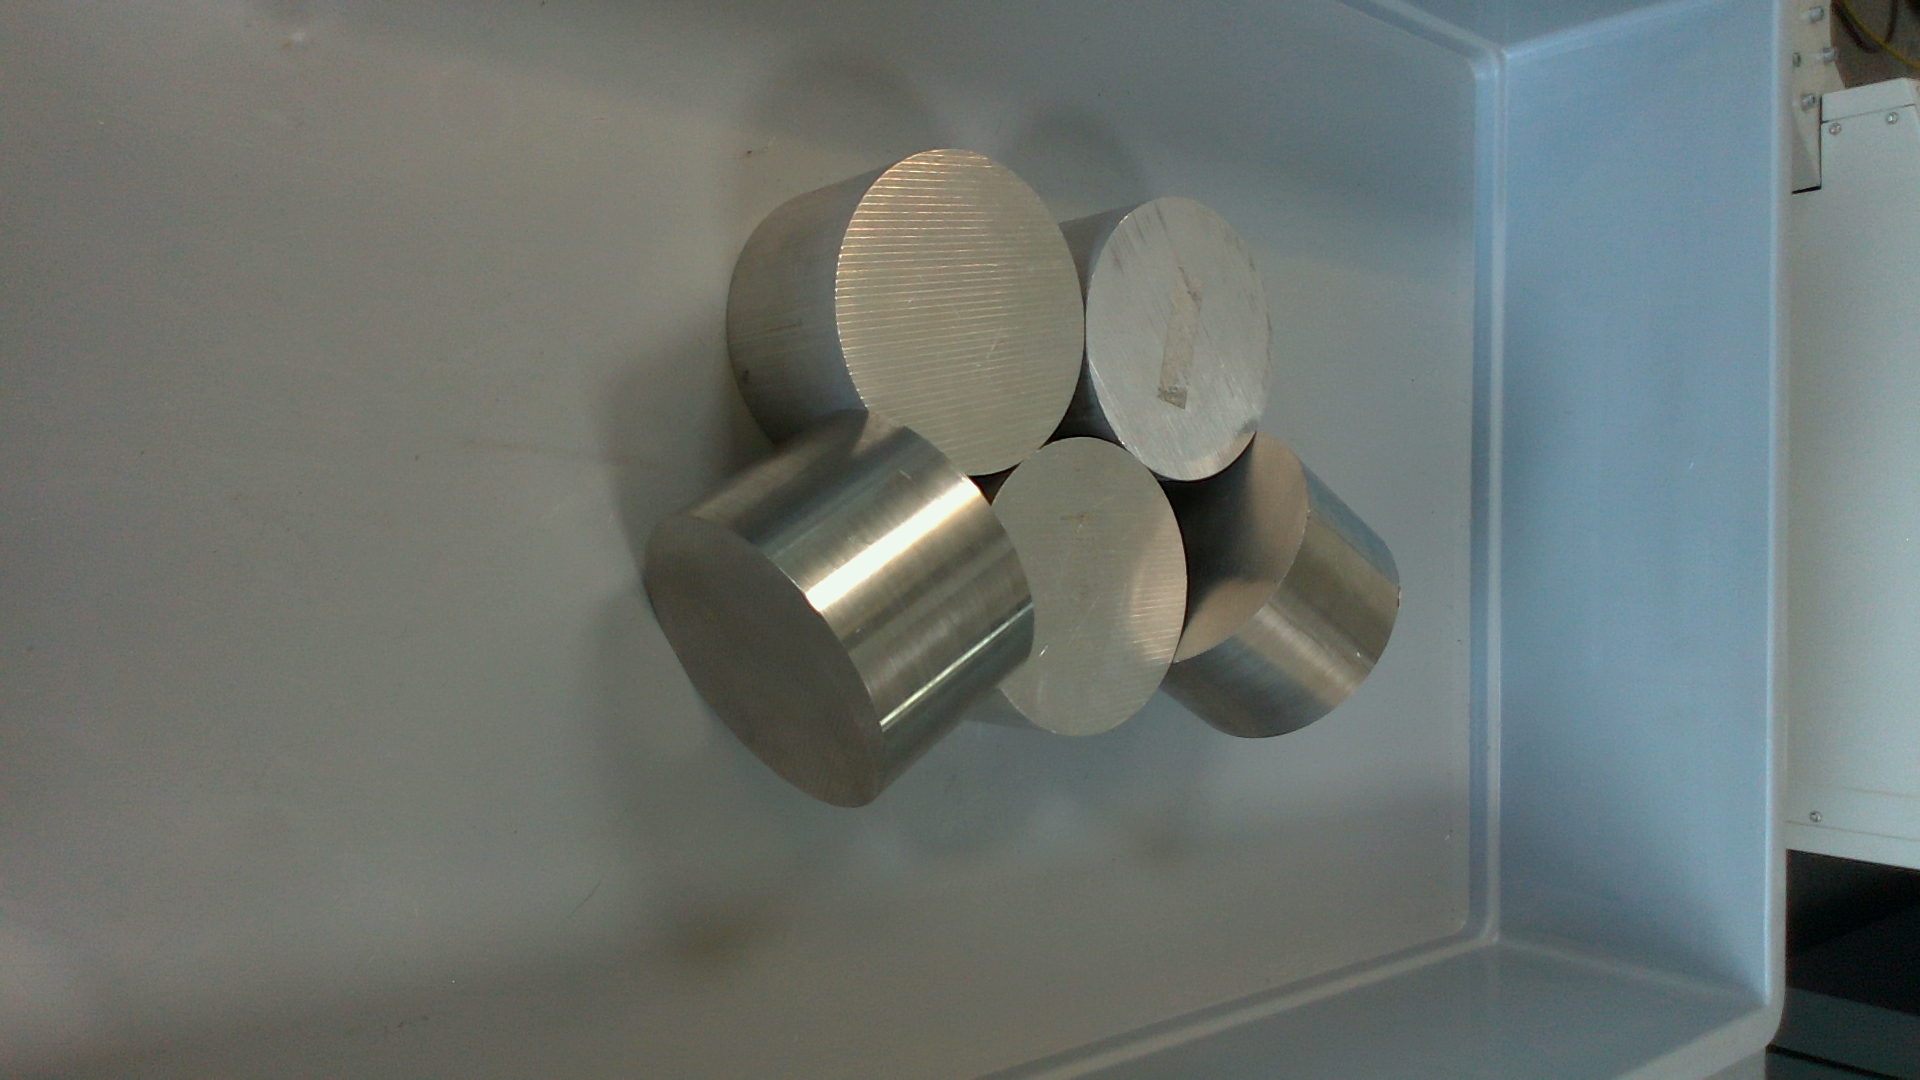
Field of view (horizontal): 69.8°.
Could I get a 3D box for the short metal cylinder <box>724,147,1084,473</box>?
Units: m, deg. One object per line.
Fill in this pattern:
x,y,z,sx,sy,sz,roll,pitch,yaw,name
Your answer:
-0.014,-0.057,0.359,0.080,0.050,0.080,0,90,-40,short metal cylinder

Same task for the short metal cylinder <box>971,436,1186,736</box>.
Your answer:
0.018,0.012,0.386,0.080,0.050,0.080,0,90,-40,short metal cylinder

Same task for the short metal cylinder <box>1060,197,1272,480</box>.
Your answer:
0.048,-0.057,0.411,0.080,0.050,0.080,0,90,-40,short metal cylinder

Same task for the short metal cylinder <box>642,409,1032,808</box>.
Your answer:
-0.030,0.016,0.327,0.050,0.080,0.080,-37,113,-34,short metal cylinder

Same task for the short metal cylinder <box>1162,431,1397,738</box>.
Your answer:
0.085,0.013,0.422,0.050,0.080,0.080,36,68,-34,short metal cylinder
